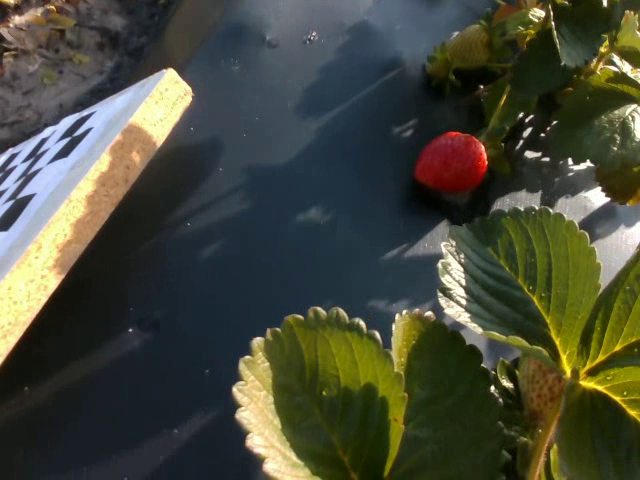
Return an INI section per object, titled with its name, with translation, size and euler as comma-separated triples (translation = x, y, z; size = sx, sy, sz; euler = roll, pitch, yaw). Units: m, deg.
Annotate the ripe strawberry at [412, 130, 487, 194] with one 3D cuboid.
[ripe strawberry]
translation = 0.058, -0.032, 0.287
size = 0.044, 0.033, 0.030
euler = -19, 21, -21
